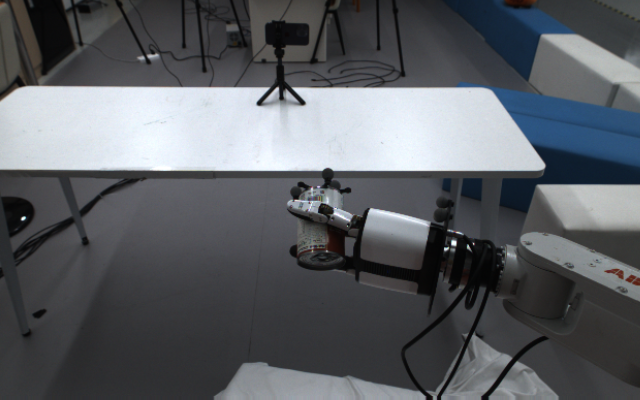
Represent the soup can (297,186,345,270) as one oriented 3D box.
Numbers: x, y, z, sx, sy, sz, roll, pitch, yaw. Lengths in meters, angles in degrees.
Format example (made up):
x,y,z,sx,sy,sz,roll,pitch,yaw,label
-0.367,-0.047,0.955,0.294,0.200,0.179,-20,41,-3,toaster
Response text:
x,y,z,sx,sy,sz,roll,pitch,yaw,label
0.004,0.042,0.682,0.067,0.067,0.101,0,64,-3,soup can
